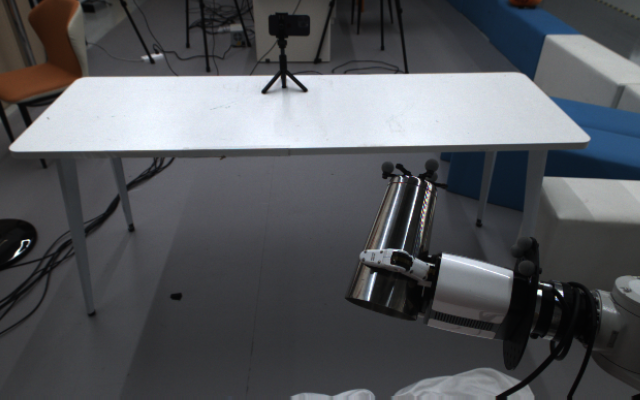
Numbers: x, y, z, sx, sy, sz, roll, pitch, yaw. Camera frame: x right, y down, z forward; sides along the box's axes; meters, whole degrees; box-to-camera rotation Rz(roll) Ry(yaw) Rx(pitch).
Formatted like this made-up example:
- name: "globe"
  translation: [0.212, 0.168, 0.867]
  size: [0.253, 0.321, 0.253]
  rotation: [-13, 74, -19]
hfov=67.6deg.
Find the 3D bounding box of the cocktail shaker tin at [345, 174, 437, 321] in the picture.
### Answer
- name: "cocktail shaker tin"
  translation: [0.099, 0.059, 0.624]
  size: [0.093, 0.093, 0.170]
  rotation: [14, 73, 16]
